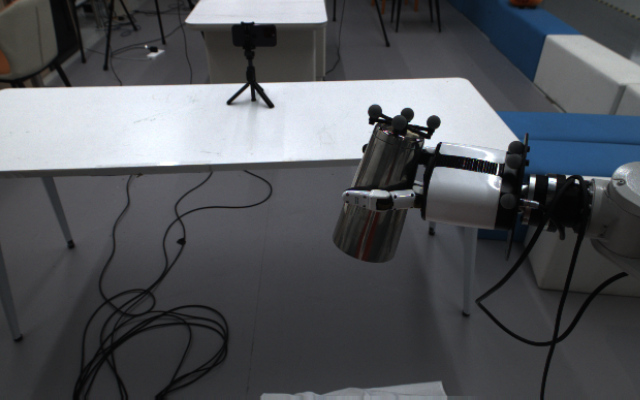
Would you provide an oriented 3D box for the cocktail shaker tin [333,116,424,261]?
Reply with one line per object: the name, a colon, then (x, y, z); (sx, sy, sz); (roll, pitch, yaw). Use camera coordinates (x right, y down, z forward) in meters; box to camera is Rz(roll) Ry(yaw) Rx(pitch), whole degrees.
cocktail shaker tin: (0.084, -0.015, 0.648); (0.093, 0.170, 0.093); (12, 24, -5)
